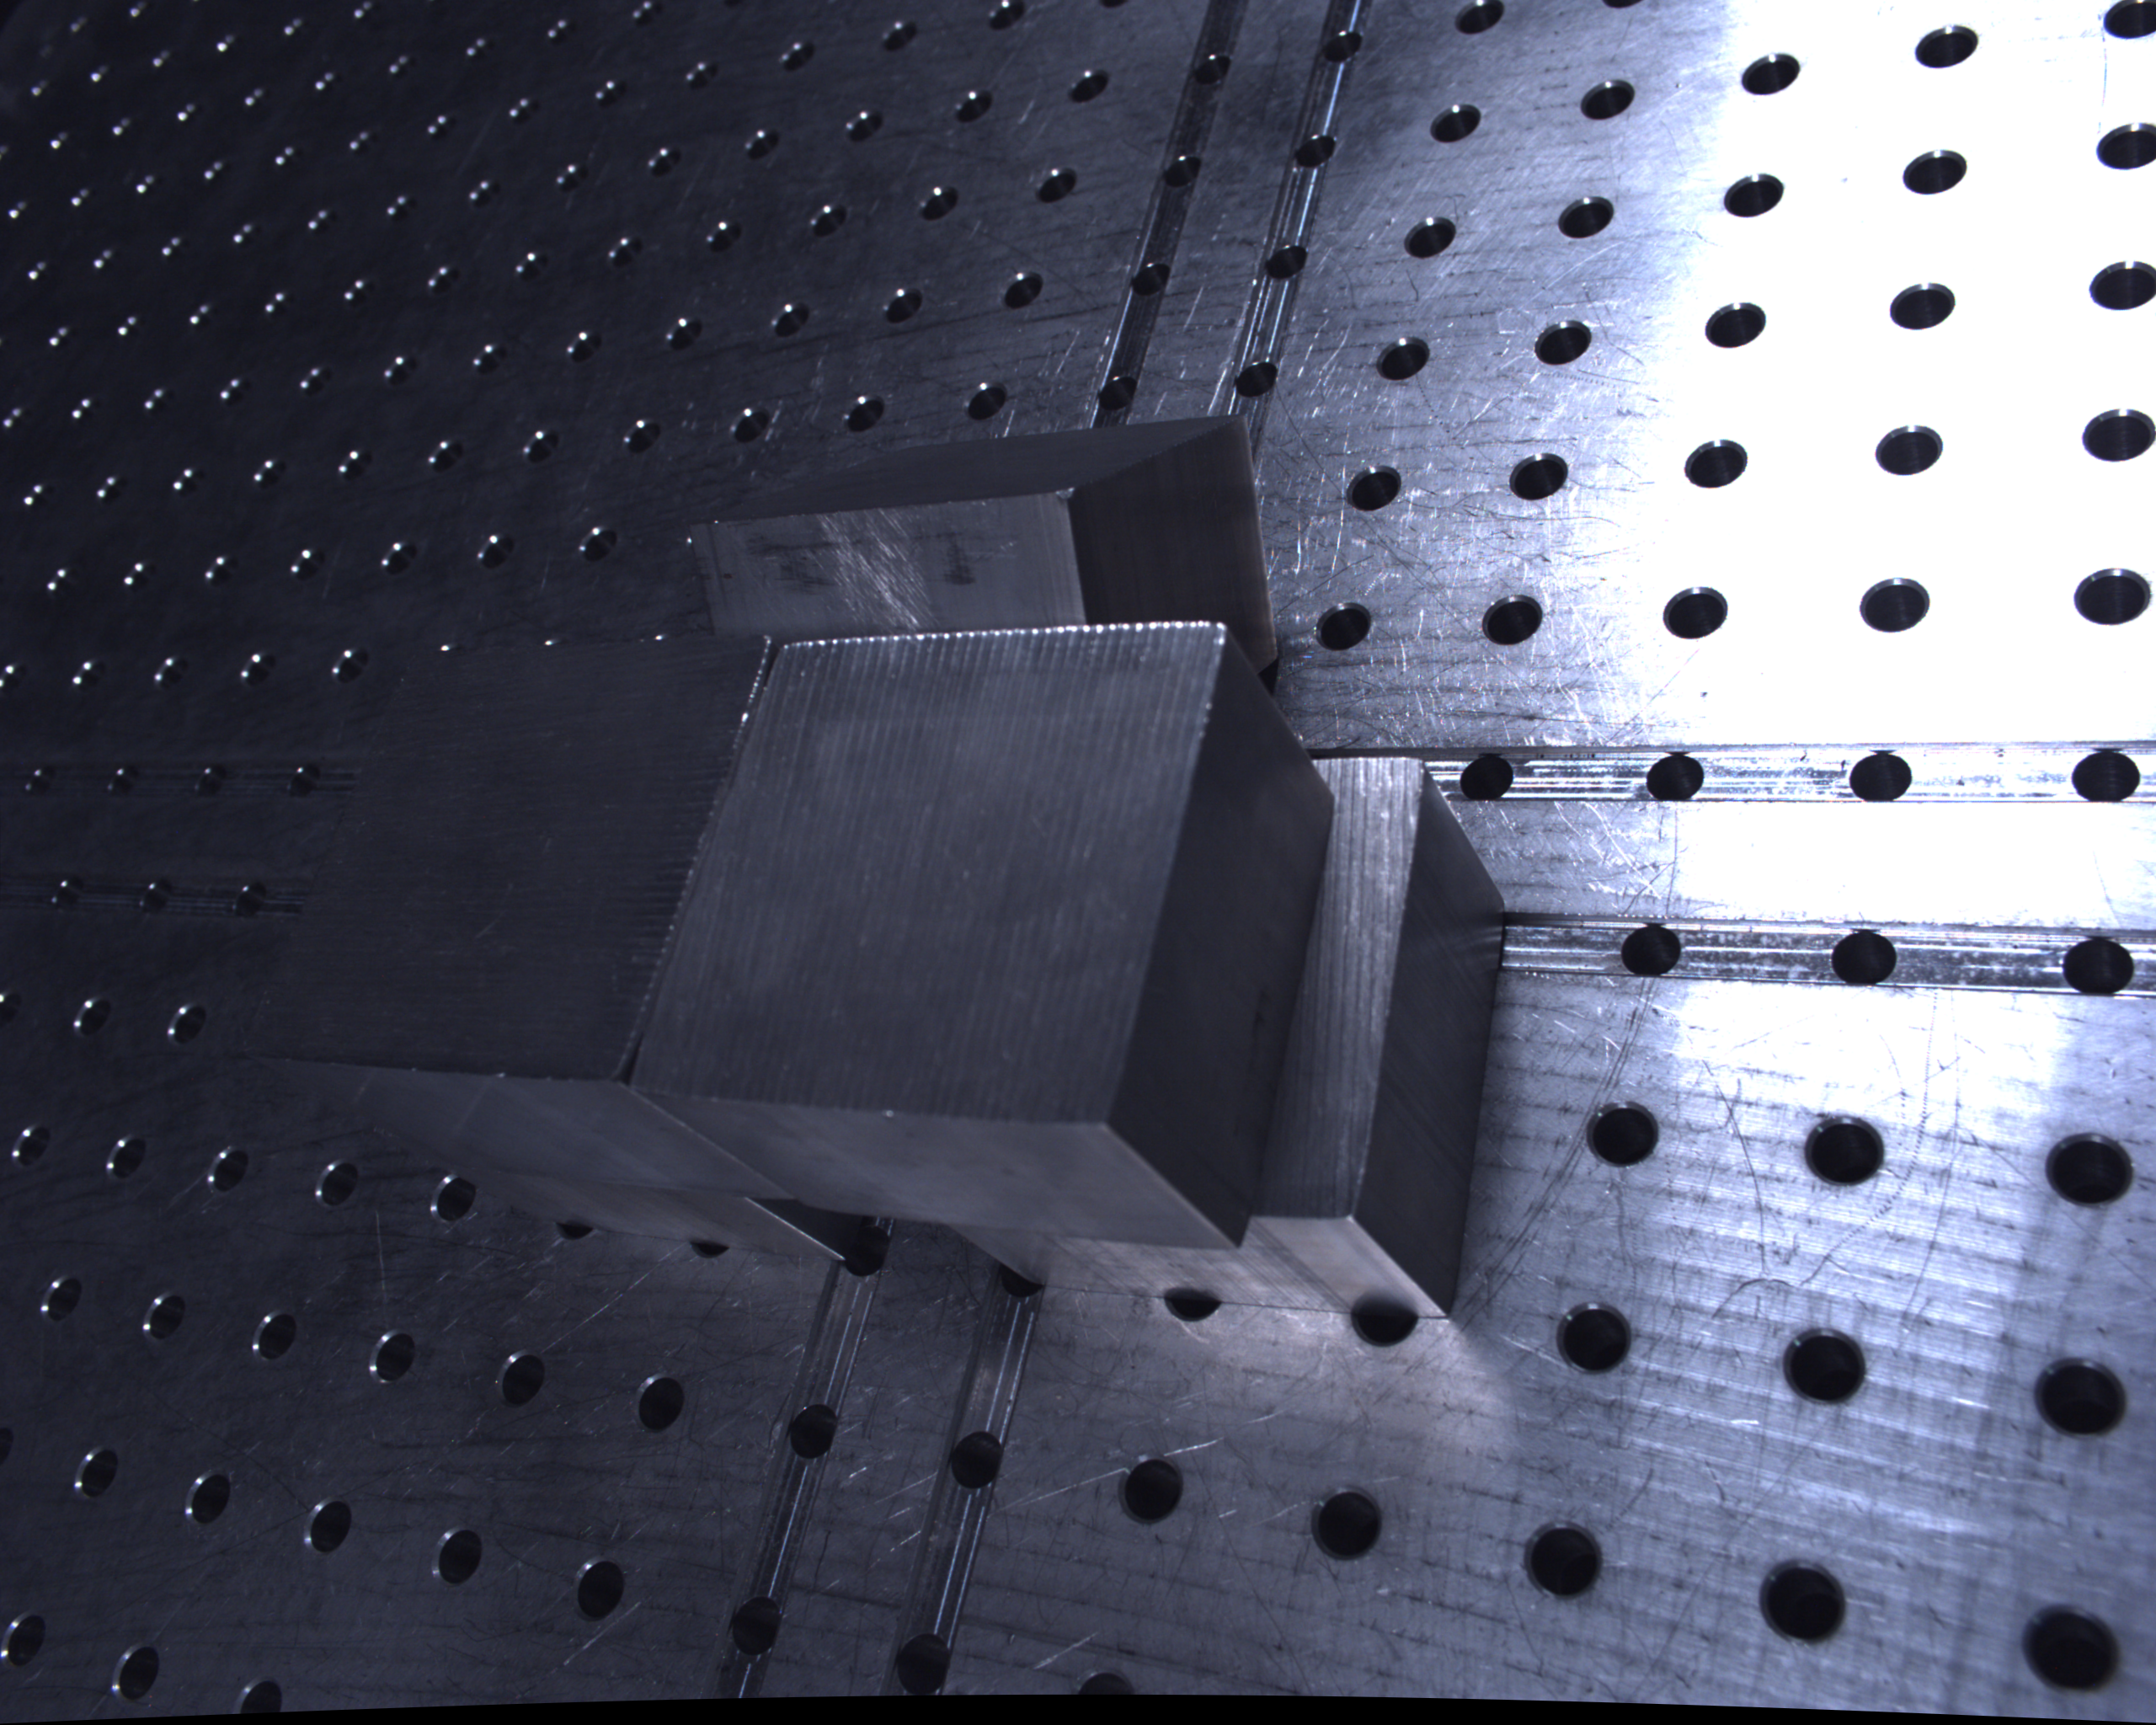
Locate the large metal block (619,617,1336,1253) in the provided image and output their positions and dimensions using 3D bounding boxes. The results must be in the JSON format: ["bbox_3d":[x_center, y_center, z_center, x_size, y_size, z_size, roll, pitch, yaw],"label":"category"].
[{"bbox_3d":[-0.013,0.011,0.324,0.080,0.050,0.080,0,62,28],"label":"large metal block"}]

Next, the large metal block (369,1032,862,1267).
[{"bbox_3d":[-0.080,0.030,0.415,0.080,0.050,0.080,2,62,28],"label":"large metal block"}]

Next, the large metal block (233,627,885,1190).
[{"bbox_3d":[-0.085,0.008,0.362,0.080,0.050,0.080,0,62,28],"label":"large metal block"}]

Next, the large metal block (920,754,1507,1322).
[{"bbox_3d":[0.024,0.030,0.360,0.080,0.050,0.080,-1,61,27],"label":"large metal block"}]

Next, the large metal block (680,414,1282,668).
[{"bbox_3d":[-0.016,-0.052,0.404,0.080,0.050,0.080,1,20,28],"label":"large metal block"}]
